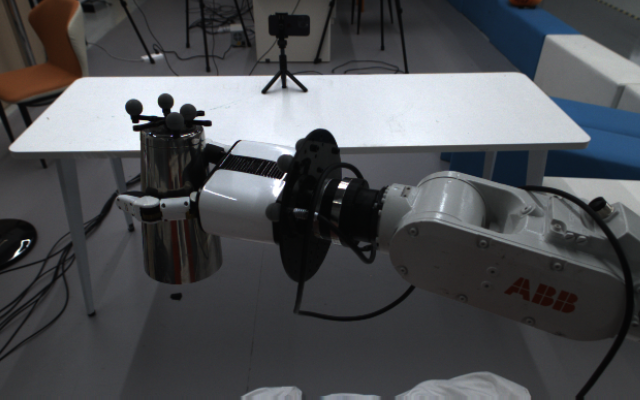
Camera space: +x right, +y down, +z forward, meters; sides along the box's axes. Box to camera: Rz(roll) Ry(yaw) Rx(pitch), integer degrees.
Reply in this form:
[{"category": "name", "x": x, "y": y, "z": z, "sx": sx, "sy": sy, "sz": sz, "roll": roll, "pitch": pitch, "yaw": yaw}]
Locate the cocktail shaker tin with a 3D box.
[{"category": "cocktail shaker tin", "x": -0.160, "y": 0.000, "z": 0.552, "sx": 0.093, "sy": 0.170, "sz": 0.093, "roll": 2, "pitch": 26, "yaw": -1}]
